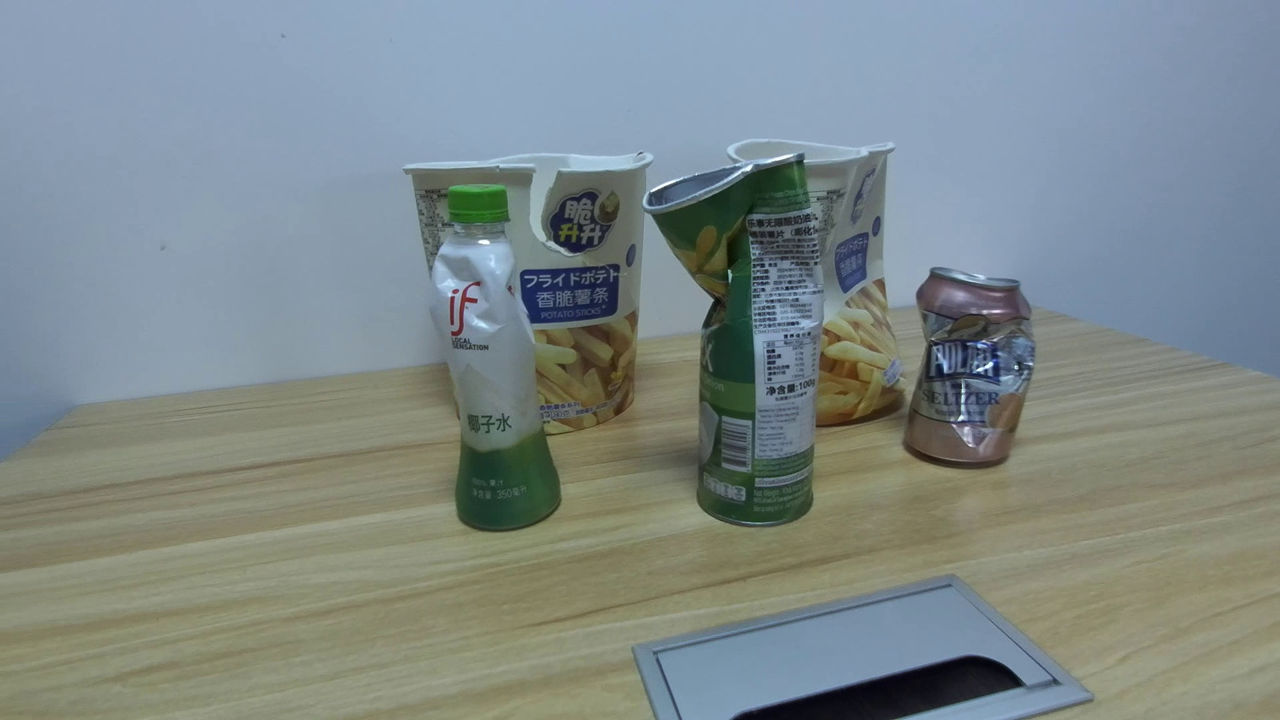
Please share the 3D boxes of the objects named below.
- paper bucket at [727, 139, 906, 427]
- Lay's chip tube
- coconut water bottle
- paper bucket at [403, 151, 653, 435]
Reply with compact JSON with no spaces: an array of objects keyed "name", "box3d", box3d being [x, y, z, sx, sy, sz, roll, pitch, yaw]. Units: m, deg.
[{"name":"paper bucket","box3d":[0.135,-0.066,0.546,0.147,0.199,0.217,-2,18,0]},{"name":"Lay's chip tube","box3d":[0.054,-0.006,0.388,0.071,0.199,0.078,-18,22,-20]},{"name":"coconut water bottle","box3d":[-0.083,-0.001,0.399,0.067,0.187,0.067,-2,17,1]},{"name":"paper bucket","box3d":[-0.080,-0.058,0.550,0.202,0.197,0.146,8,22,27]}]
